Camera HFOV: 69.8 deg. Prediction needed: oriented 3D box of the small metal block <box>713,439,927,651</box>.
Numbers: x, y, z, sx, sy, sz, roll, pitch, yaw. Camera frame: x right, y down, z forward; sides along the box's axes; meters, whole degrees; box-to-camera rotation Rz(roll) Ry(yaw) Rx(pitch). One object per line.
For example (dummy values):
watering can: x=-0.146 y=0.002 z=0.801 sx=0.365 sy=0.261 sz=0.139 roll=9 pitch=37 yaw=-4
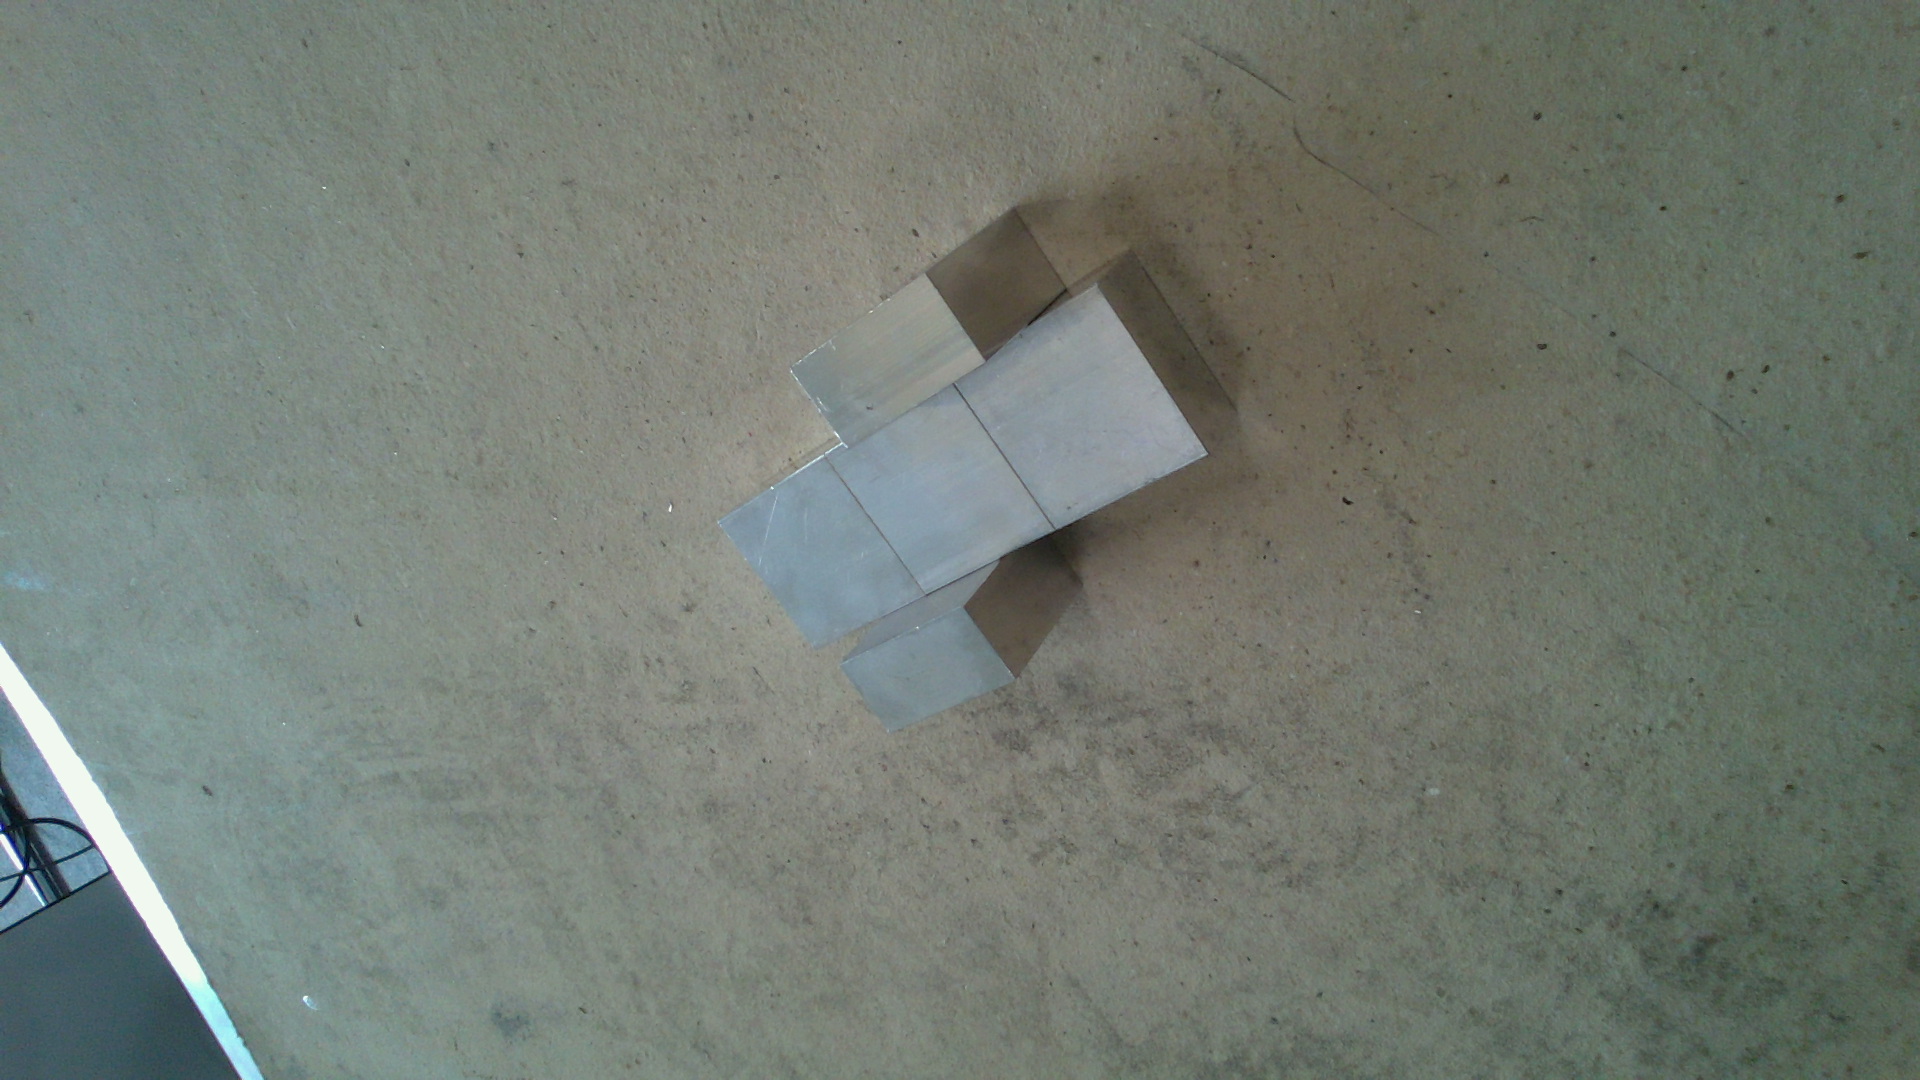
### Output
small metal block: x=-0.037 y=-0.001 z=0.412 sx=0.050 sy=0.025 sz=0.050 roll=-27 pitch=104 yaw=37

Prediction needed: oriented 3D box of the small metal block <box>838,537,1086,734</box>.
small metal block: x=0.001 y=0.024 z=0.392 sx=0.050 sy=0.050 sz=0.025 roll=-28 pitch=102 yaw=38

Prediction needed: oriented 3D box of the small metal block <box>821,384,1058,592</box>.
small metal block: x=-0.001 y=-0.019 z=0.382 sx=0.050 sy=0.025 sz=0.050 roll=-27 pitch=104 yaw=37

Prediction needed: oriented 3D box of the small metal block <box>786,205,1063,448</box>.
small metal block: x=-0.008 y=-0.054 z=0.348 sx=0.050 sy=0.050 sz=0.025 roll=-27 pitch=104 yaw=38

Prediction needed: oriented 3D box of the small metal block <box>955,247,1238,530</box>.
small metal block: x=0.034 y=-0.038 z=0.352 sx=0.050 sy=0.025 sz=0.050 roll=-27 pitch=104 yaw=37
